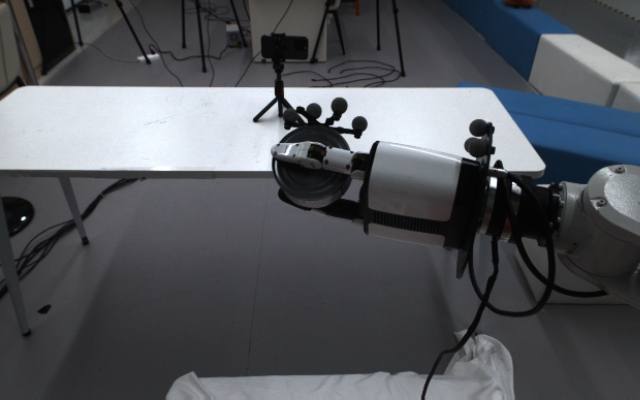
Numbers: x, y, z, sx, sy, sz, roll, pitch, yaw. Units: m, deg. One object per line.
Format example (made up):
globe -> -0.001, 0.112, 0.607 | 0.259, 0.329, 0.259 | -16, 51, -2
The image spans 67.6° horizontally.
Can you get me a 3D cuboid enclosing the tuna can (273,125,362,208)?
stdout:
tuna can -> -0.006, -0.037, 0.525 | 0.085, 0.034, 0.085 | -3, 69, 7
